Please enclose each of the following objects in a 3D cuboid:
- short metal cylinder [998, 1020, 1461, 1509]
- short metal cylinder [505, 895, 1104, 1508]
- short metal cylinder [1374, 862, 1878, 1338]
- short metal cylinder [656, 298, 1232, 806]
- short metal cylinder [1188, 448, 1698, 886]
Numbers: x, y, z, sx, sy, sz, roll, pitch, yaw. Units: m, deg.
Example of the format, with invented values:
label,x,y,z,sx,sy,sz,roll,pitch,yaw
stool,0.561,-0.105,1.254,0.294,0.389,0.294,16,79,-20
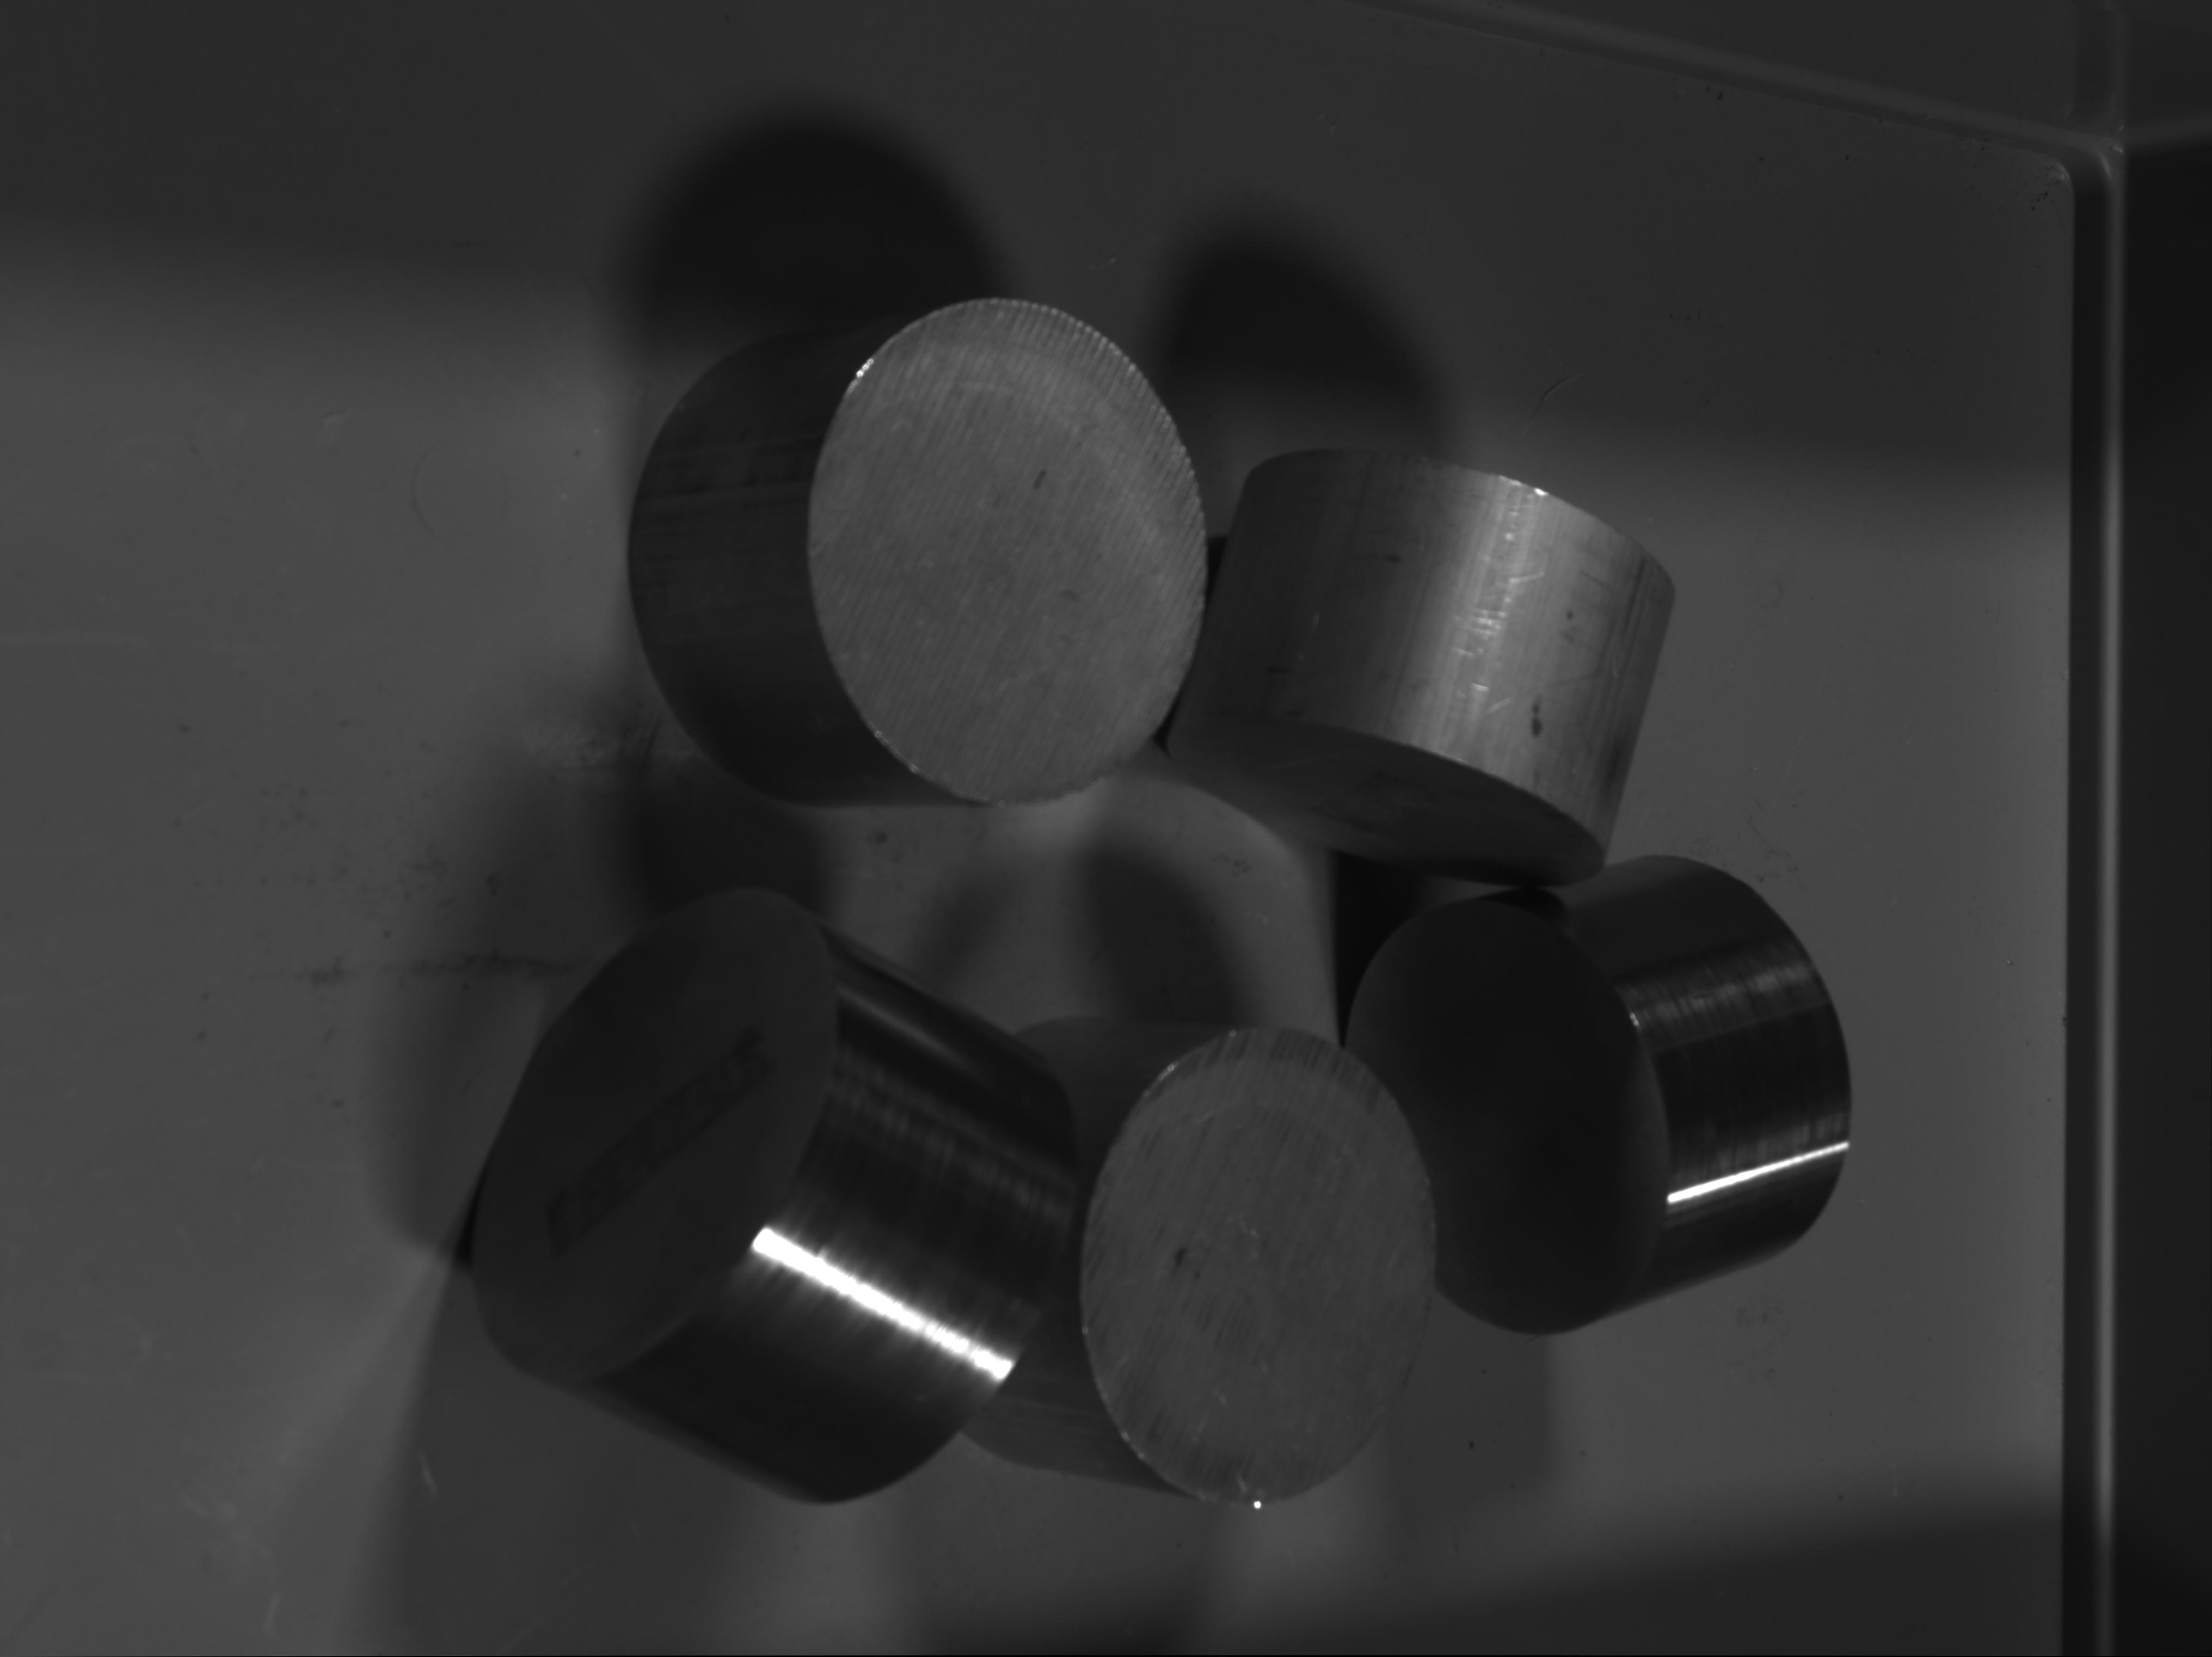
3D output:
label,x,y,z,sx,sy,sz,roll,pitch,yaw
short metal cylinder,0.015,0.074,0.632,0.080,0.050,0.080,0,90,-40
short metal cylinder,-0.047,0.057,0.560,0.050,0.080,0.080,34,69,-35
short metal cylinder,0.095,0.049,0.679,0.050,0.080,0.080,-11,97,-39
short metal cylinder,-0.026,-0.044,0.598,0.080,0.050,0.080,0,90,-40
short metal cylinder,0.060,-0.028,0.652,0.080,0.080,0.050,27,73,-36
